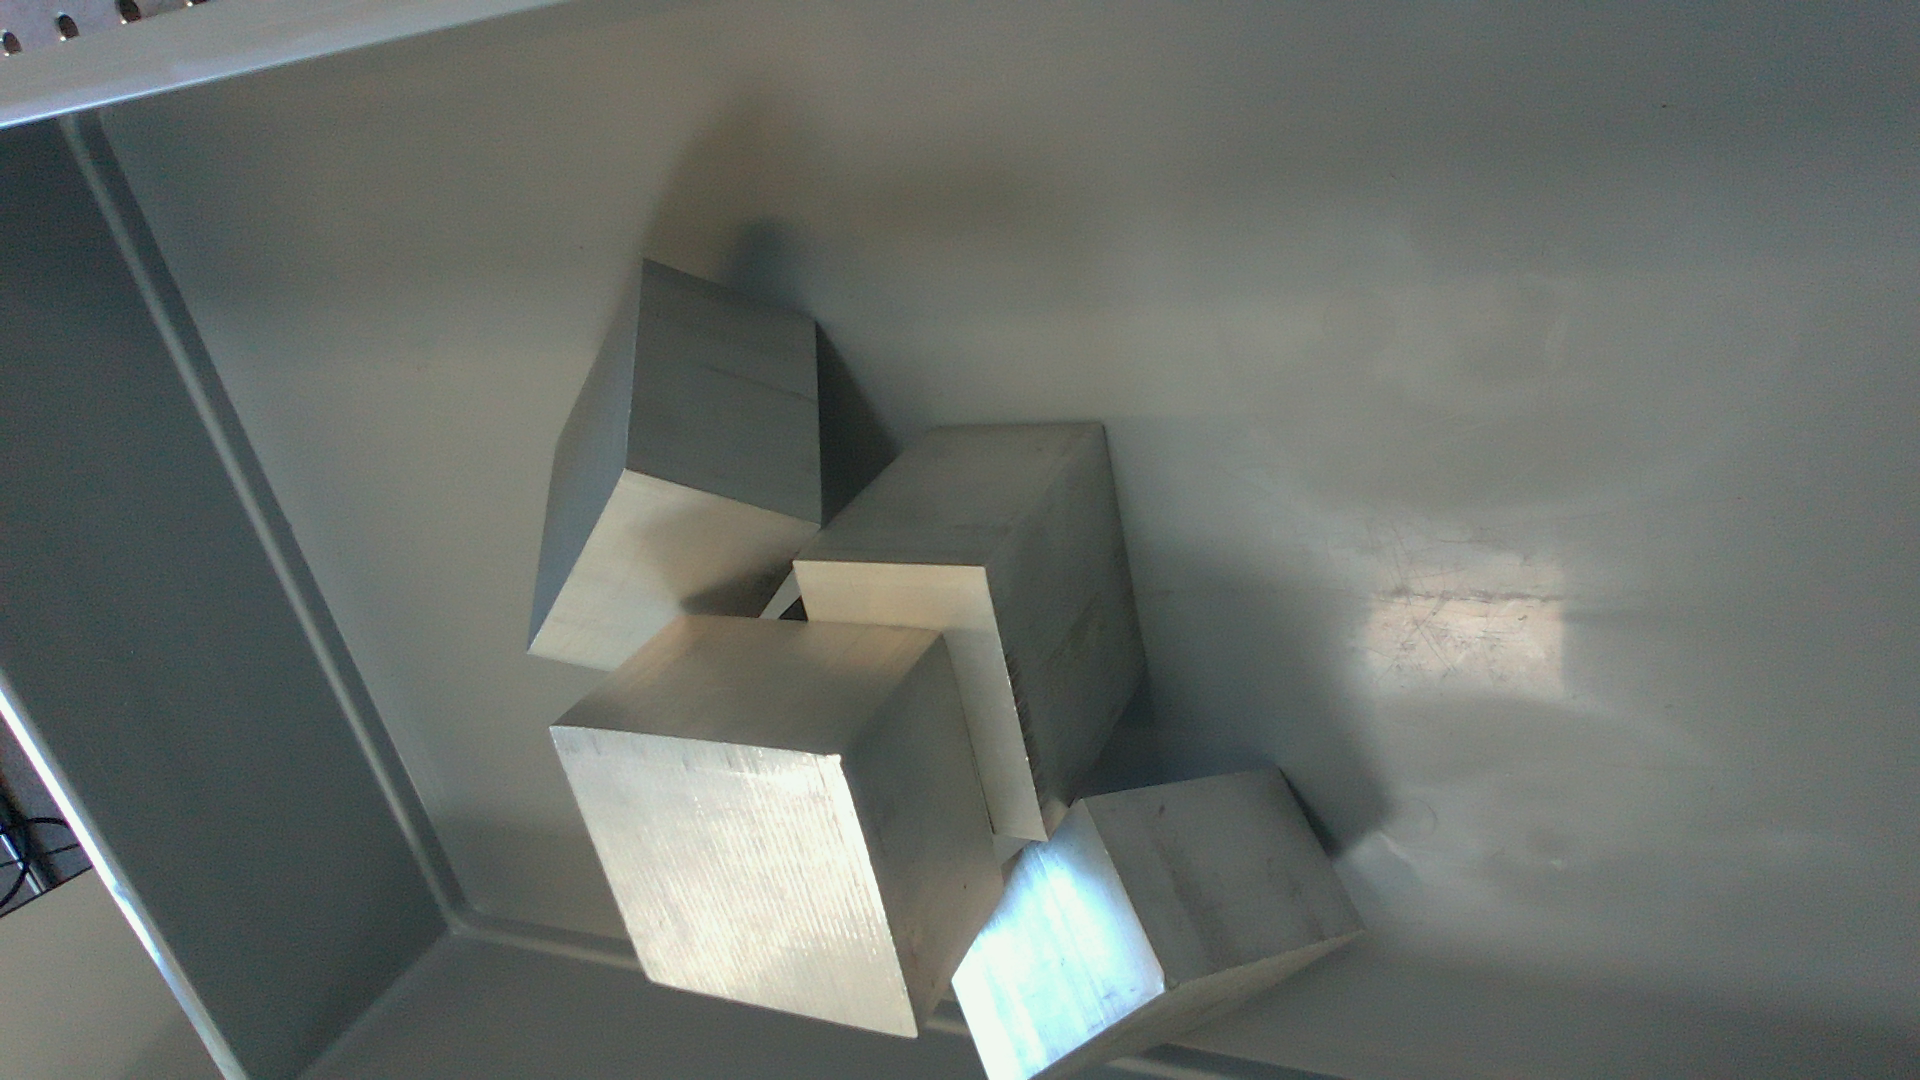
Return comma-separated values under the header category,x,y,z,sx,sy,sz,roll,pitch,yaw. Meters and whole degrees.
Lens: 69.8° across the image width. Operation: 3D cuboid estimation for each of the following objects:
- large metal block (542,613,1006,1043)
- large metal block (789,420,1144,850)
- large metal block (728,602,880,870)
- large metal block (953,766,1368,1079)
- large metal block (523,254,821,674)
category,x,y,z,sx,sy,sz,roll,pitch,yaw
large metal block,-0.042,0.067,0.335,0.080,0.050,0.080,2,119,28
large metal block,0.006,0.022,0.364,0.050,0.080,0.080,1,119,28
large metal block,-0.028,0.064,0.411,0.050,0.080,0.080,1,119,28
large metal block,0.051,0.109,0.387,0.080,0.080,0.050,-49,55,39
large metal block,-0.079,-0.016,0.379,0.050,0.080,0.080,16,134,-26
